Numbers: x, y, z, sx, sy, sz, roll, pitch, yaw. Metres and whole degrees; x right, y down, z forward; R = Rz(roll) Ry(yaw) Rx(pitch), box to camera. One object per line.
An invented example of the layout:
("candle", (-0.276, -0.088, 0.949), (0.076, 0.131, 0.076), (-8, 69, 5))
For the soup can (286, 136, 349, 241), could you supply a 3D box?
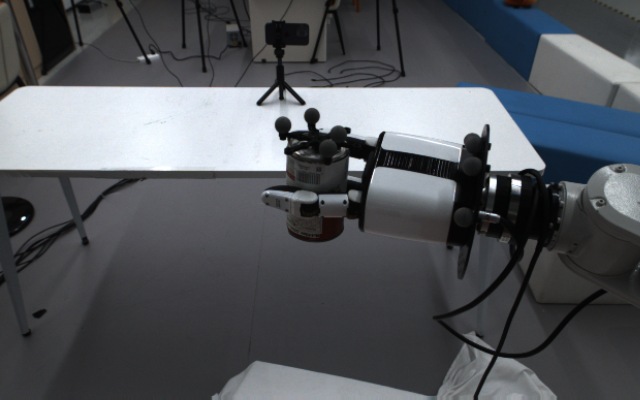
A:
("soup can", (-0.002, -0.013, 0.530), (0.067, 0.101, 0.067), (2, 32, -1))
